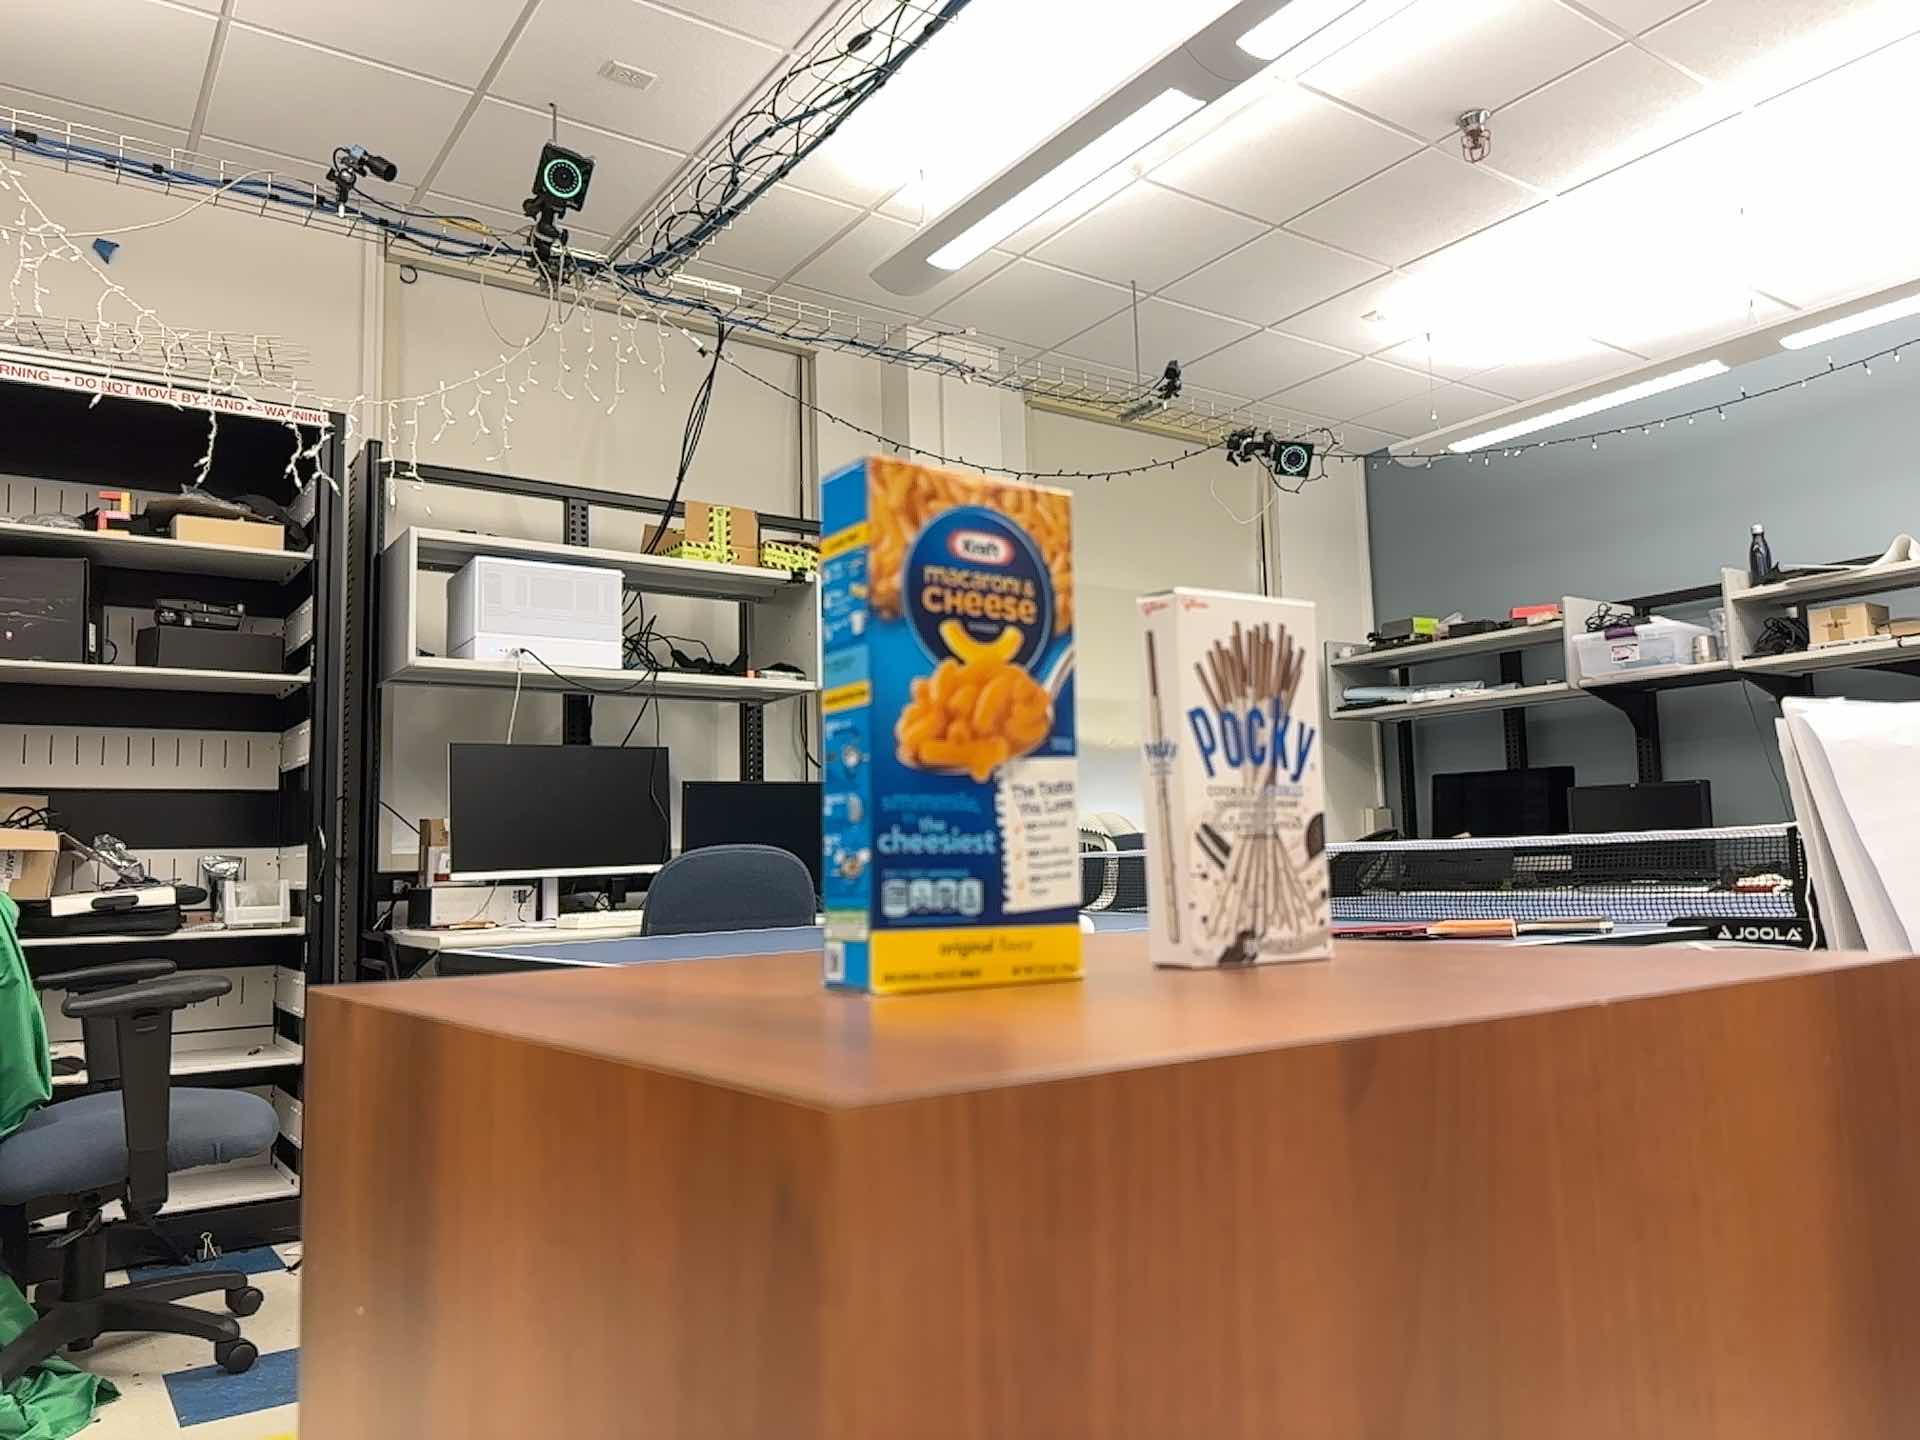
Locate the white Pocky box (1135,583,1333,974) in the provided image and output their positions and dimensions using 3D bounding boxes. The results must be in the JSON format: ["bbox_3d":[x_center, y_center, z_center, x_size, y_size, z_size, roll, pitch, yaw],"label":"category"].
[{"bbox_3d":[0.112,0.025,0.550,0.084,0.154,0.028,3,-7,-28],"label":"white Pocky box"}]

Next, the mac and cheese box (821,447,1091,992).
[{"bbox_3d":[-0.002,0.001,0.484,0.088,0.181,0.035,3,-8,-31],"label":"mac and cheese box"}]
